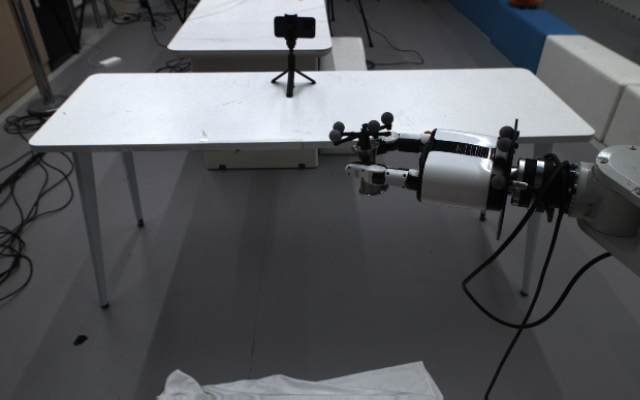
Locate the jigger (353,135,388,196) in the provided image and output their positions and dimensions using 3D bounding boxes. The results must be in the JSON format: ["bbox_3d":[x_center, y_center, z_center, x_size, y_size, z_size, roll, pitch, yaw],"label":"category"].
[{"bbox_3d":[0.071,-0.046,0.691,0.043,0.071,0.043,-11,24,5],"label":"jigger"}]
